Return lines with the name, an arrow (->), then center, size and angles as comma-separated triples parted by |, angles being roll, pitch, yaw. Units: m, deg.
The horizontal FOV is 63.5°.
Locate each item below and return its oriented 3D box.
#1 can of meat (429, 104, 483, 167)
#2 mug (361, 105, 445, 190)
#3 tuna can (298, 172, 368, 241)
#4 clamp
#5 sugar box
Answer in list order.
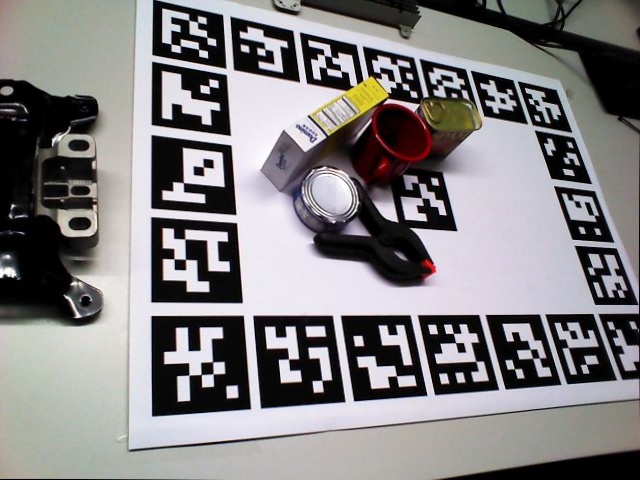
can of meat -> 0.188, -0.153, 0.769 | 0.101, 0.084, 0.057 | -6, 68, -28
mug -> 0.106, -0.113, 0.705 | 0.093, 0.082, 0.116 | 26, 61, -12
tuna can -> 0.017, -0.041, 0.662 | 0.085, 0.034, 0.085 | 9, 66, -21
clamp -> 0.092, 0.015, 0.677 | 0.165, 0.037, 0.121 | 37, 53, -10
sugar box -> 0.018, -0.130, 0.676 | 0.045, 0.093, 0.175 | 48, 56, 4
